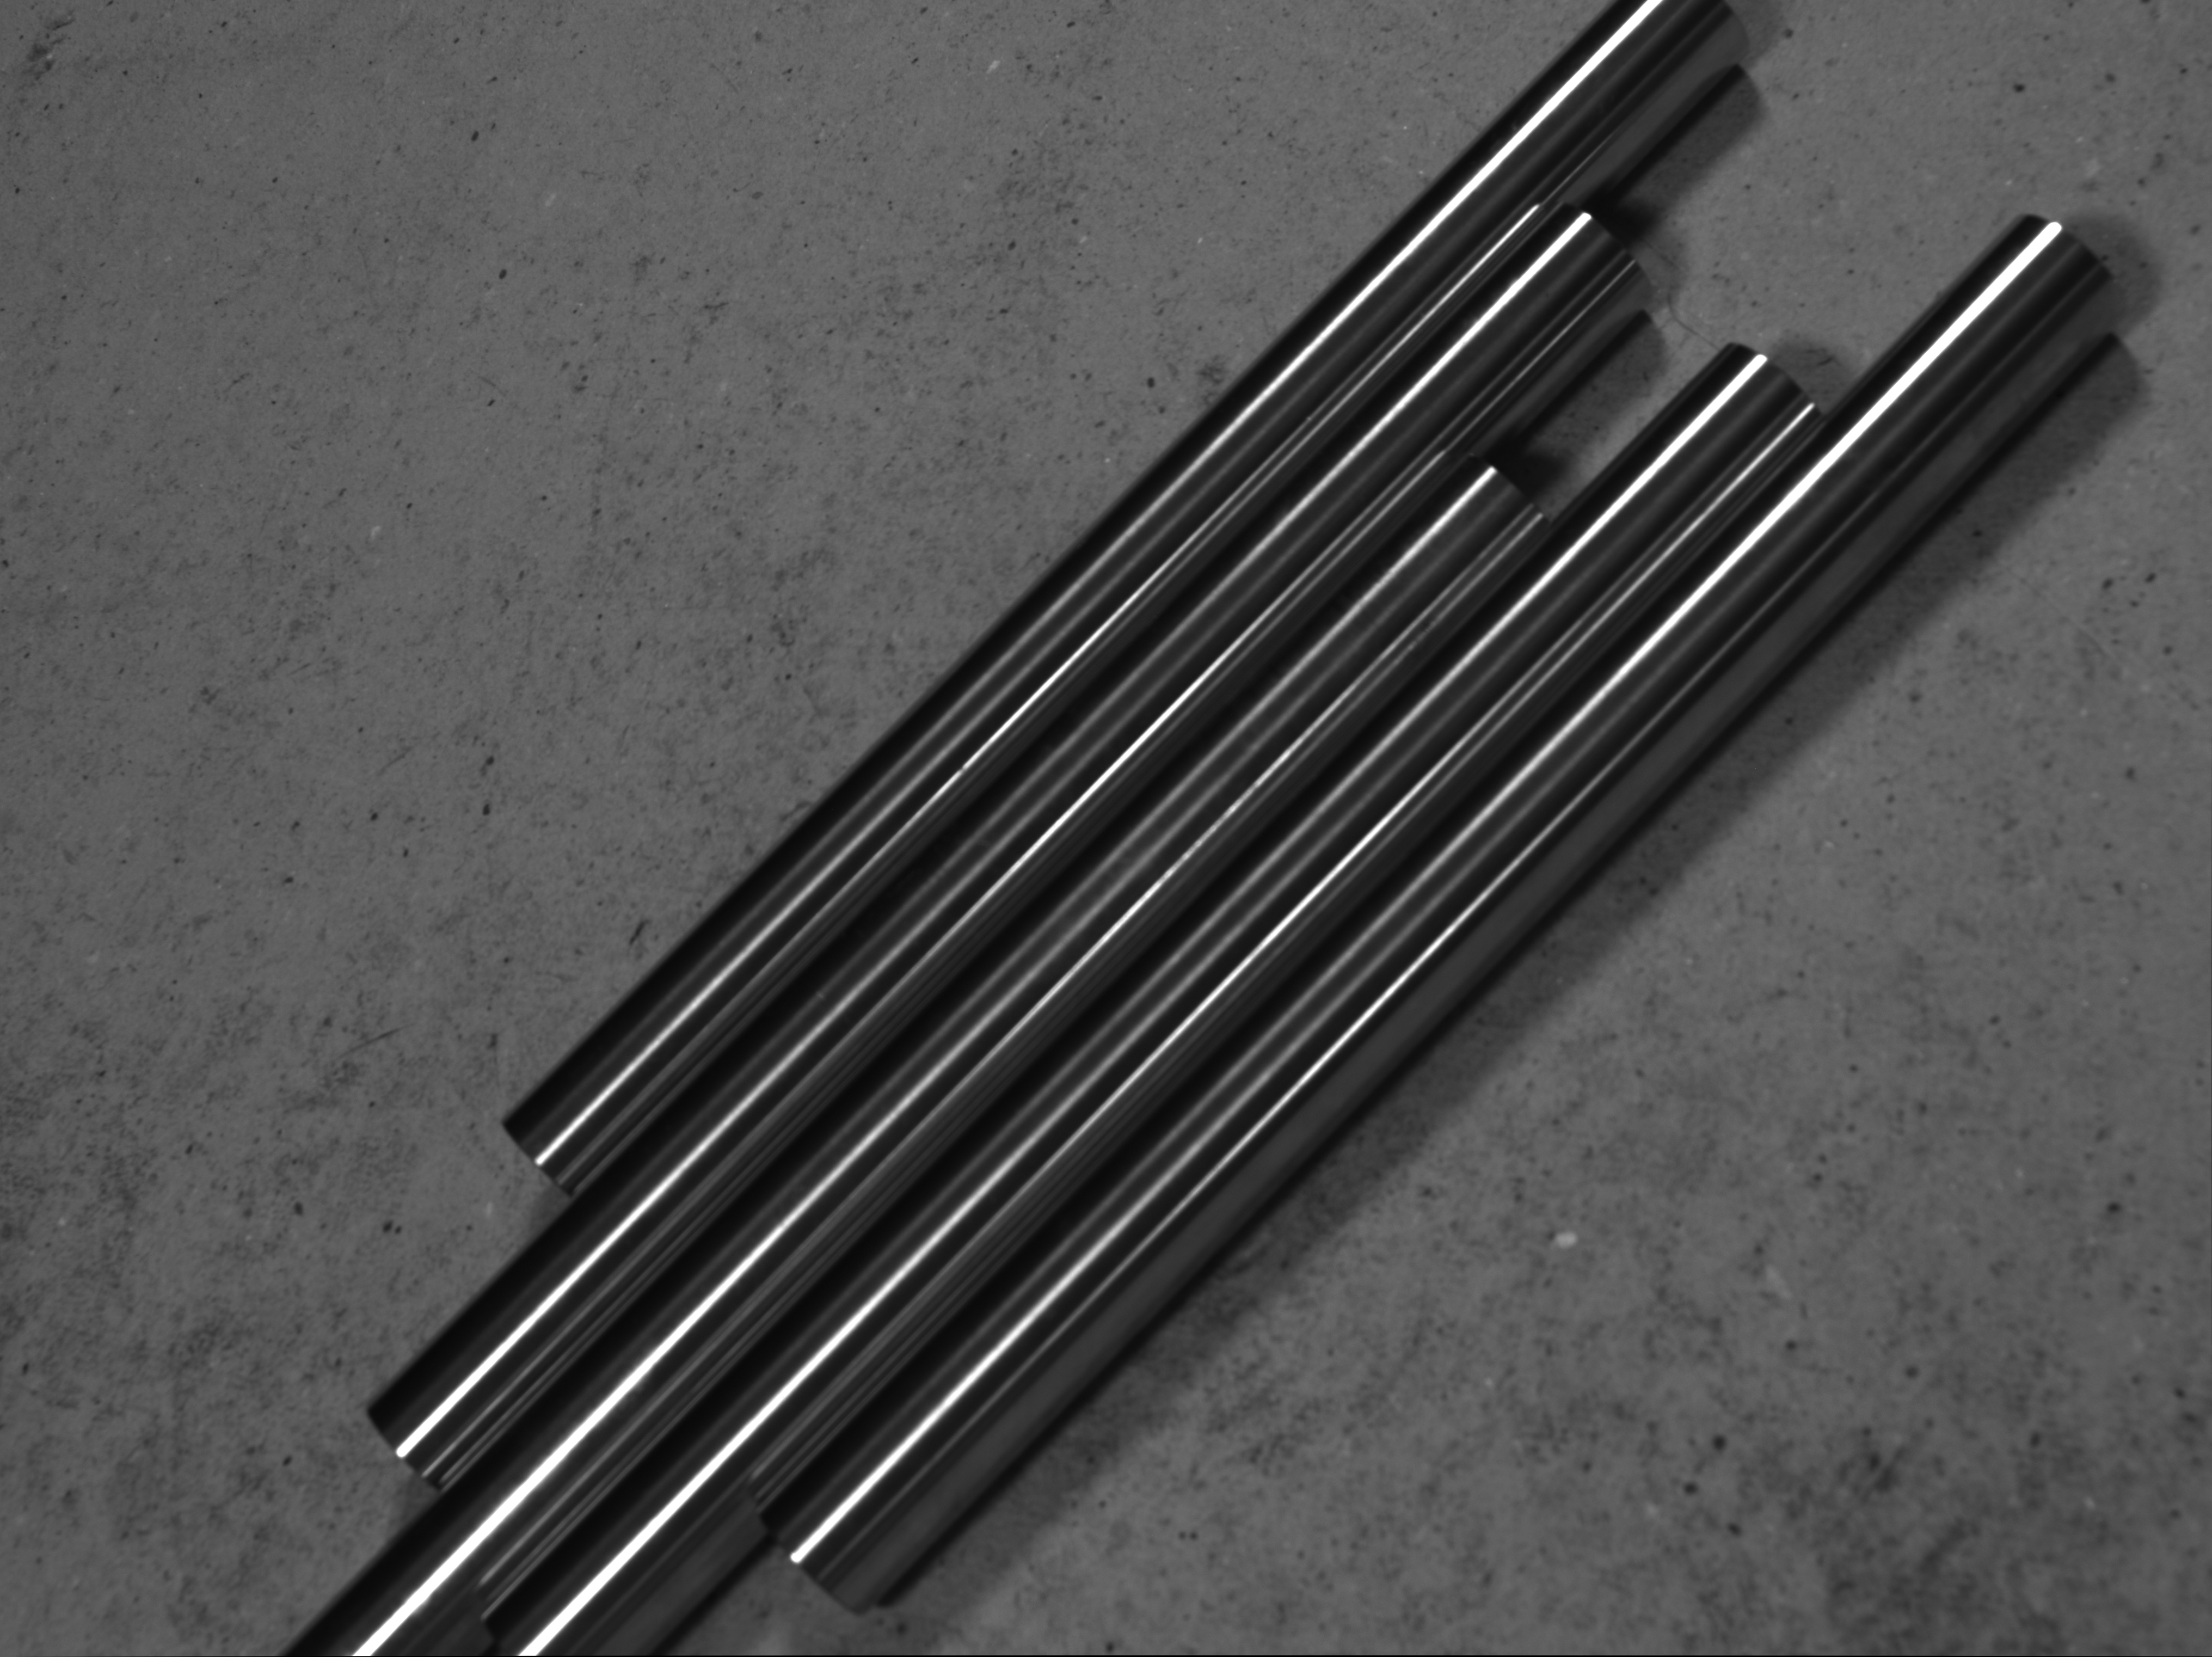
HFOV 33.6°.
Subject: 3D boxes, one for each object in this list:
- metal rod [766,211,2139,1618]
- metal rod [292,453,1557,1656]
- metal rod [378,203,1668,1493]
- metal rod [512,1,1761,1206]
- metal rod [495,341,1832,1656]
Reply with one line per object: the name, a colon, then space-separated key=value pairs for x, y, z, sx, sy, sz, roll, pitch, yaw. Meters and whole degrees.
metal rod: x=0.058 y=0.013 z=0.605 sx=0.300 sy=0.025 sz=0.025 roll=-46 pitch=51 yaw=-3
metal rod: x=-0.032 y=0.050 z=0.631 sx=0.300 sy=0.025 sz=0.025 roll=-45 pitch=51 yaw=-4
metal rod: x=-0.013 y=0.003 z=0.650 sx=0.300 sy=0.025 sz=0.025 roll=-45 pitch=51 yaw=-4
metal rod: x=0.007 y=-0.045 z=0.669 sx=0.300 sy=0.025 sz=0.025 roll=-46 pitch=51 yaw=-3
metal rod: x=0.012 y=0.032 z=0.618 sx=0.300 sy=0.025 sz=0.025 roll=-46 pitch=51 yaw=-3
